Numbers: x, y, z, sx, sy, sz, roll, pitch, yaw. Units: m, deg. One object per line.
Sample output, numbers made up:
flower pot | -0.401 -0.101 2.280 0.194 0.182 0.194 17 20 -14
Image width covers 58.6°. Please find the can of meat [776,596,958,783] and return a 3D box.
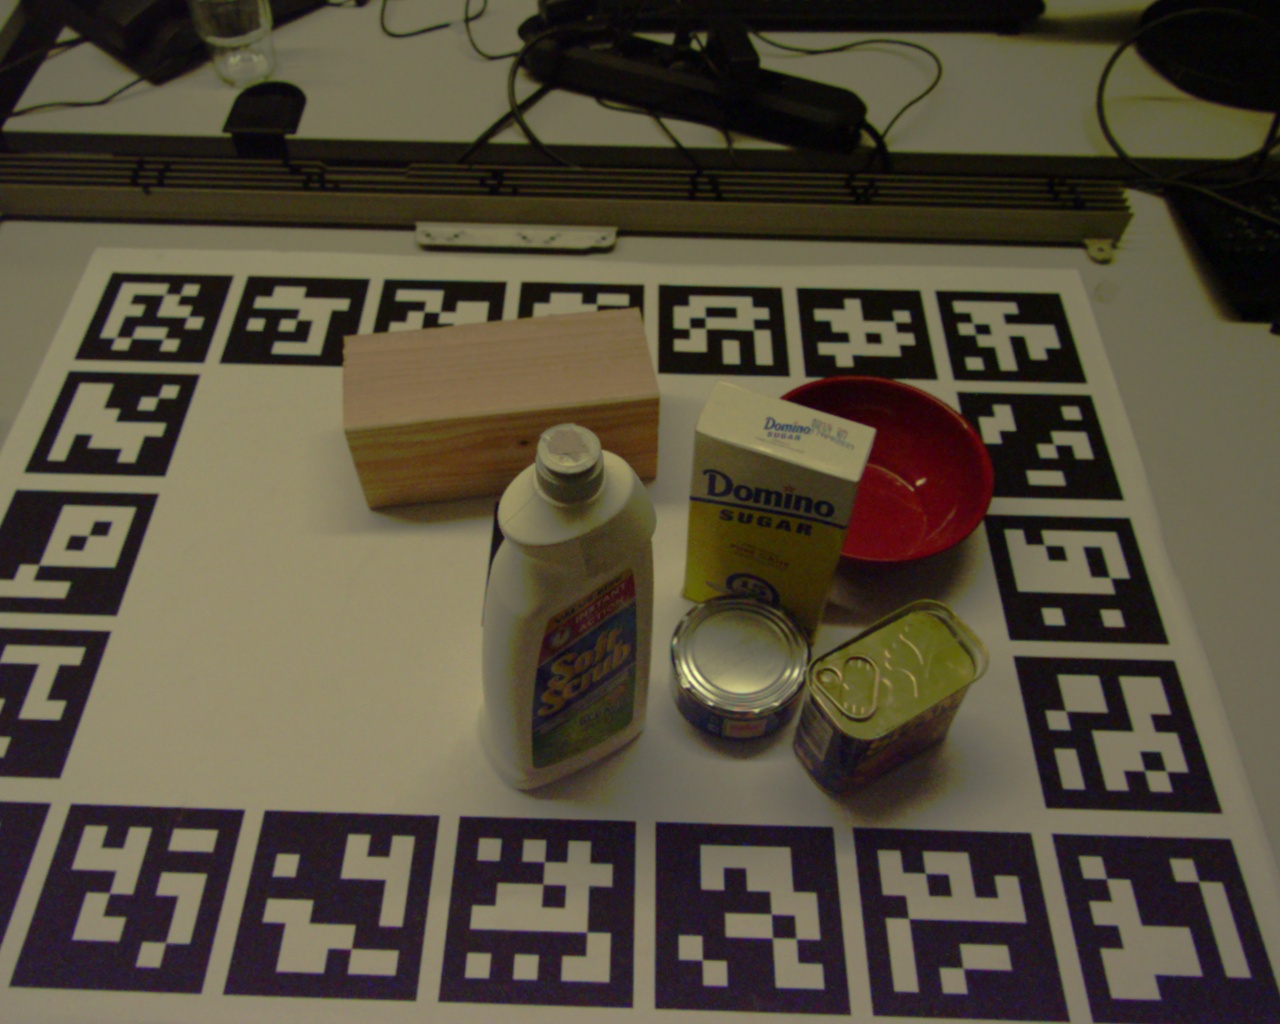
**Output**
can of meat | 0.133 0.110 0.692 0.101 0.083 0.058 -23 53 -19

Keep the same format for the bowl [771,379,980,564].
bowl | 0.152 -0.018 0.804 0.162 0.055 0.162 -3 52 2

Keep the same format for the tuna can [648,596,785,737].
tuna can | 0.048 0.098 0.724 0.086 0.033 0.086 -1 56 0

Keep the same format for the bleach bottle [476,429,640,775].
bleach bottle | -0.050 0.052 0.628 0.102 0.250 0.068 -20 54 -15

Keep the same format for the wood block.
wood block | -0.106 -0.069 0.825 0.206 0.089 0.091 -6 57 -6

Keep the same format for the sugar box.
sugar box | 0.073 0.007 0.705 0.093 0.175 0.045 17 56 16
